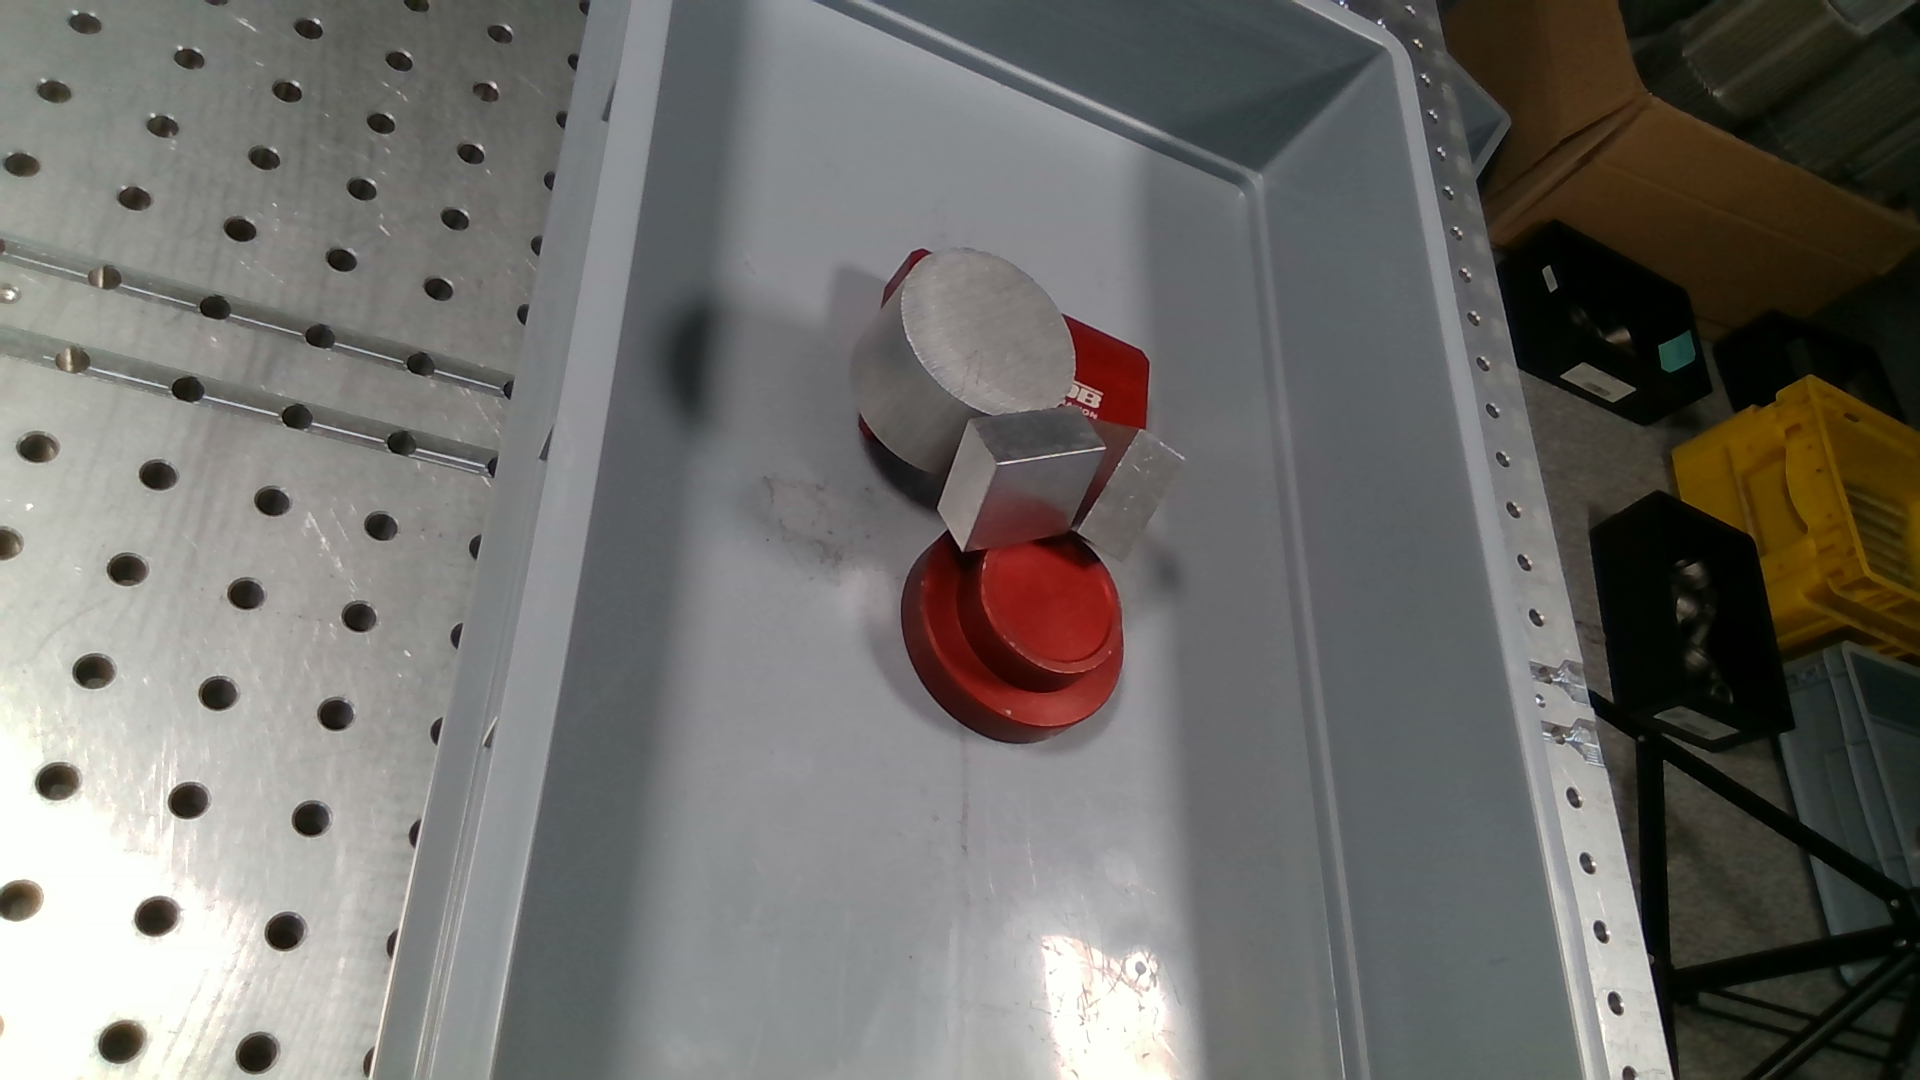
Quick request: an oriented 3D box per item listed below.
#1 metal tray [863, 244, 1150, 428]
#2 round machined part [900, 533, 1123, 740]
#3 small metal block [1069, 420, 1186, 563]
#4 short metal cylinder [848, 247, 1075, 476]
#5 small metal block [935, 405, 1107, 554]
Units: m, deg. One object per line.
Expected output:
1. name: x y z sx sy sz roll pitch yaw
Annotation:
1. metal tray: 0.024 -0.070 0.631 0.130 0.030 0.090 21 56 -21
2. round machined part: 0.028 0.032 0.573 0.098 0.042 0.098 14 59 -25
3. small metal block: 0.062 -0.022 0.586 0.025 0.050 0.050 31 89 -20
4. short metal cylinder: 0.000 -0.073 0.569 0.080 0.050 0.080 14 59 -25
5. small metal block: 0.024 -0.024 0.545 0.050 0.050 0.025 -10 52 -28
